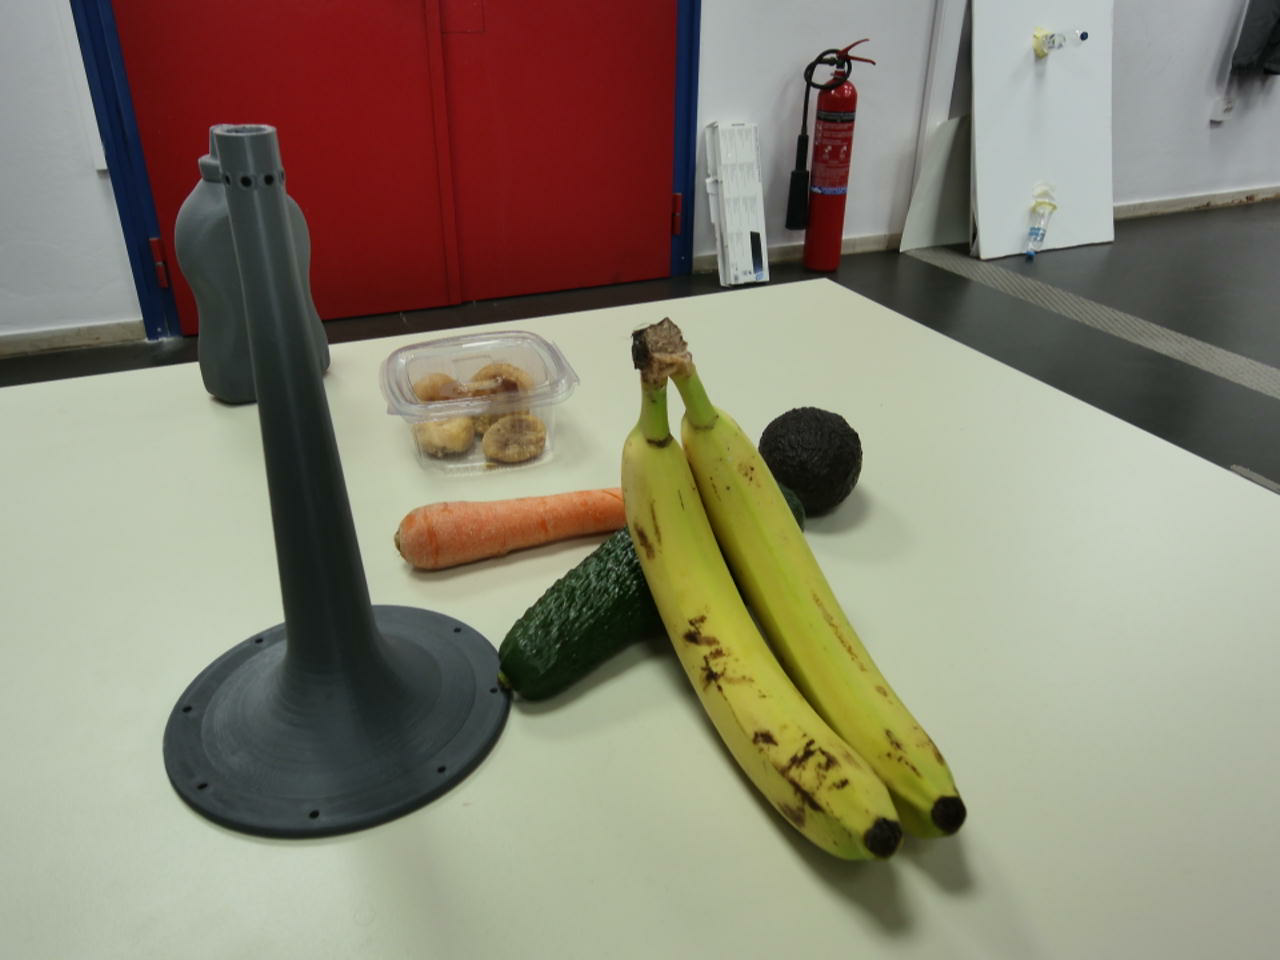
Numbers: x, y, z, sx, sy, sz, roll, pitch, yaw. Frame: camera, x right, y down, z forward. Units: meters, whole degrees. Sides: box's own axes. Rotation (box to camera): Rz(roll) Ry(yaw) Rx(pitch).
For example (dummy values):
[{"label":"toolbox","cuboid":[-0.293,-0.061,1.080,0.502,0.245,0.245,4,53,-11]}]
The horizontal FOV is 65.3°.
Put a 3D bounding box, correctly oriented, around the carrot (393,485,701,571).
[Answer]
[{"label":"carrot","cuboid":[-0.052,0.020,0.613,0.196,0.041,0.039,-11,29,-22]}]
